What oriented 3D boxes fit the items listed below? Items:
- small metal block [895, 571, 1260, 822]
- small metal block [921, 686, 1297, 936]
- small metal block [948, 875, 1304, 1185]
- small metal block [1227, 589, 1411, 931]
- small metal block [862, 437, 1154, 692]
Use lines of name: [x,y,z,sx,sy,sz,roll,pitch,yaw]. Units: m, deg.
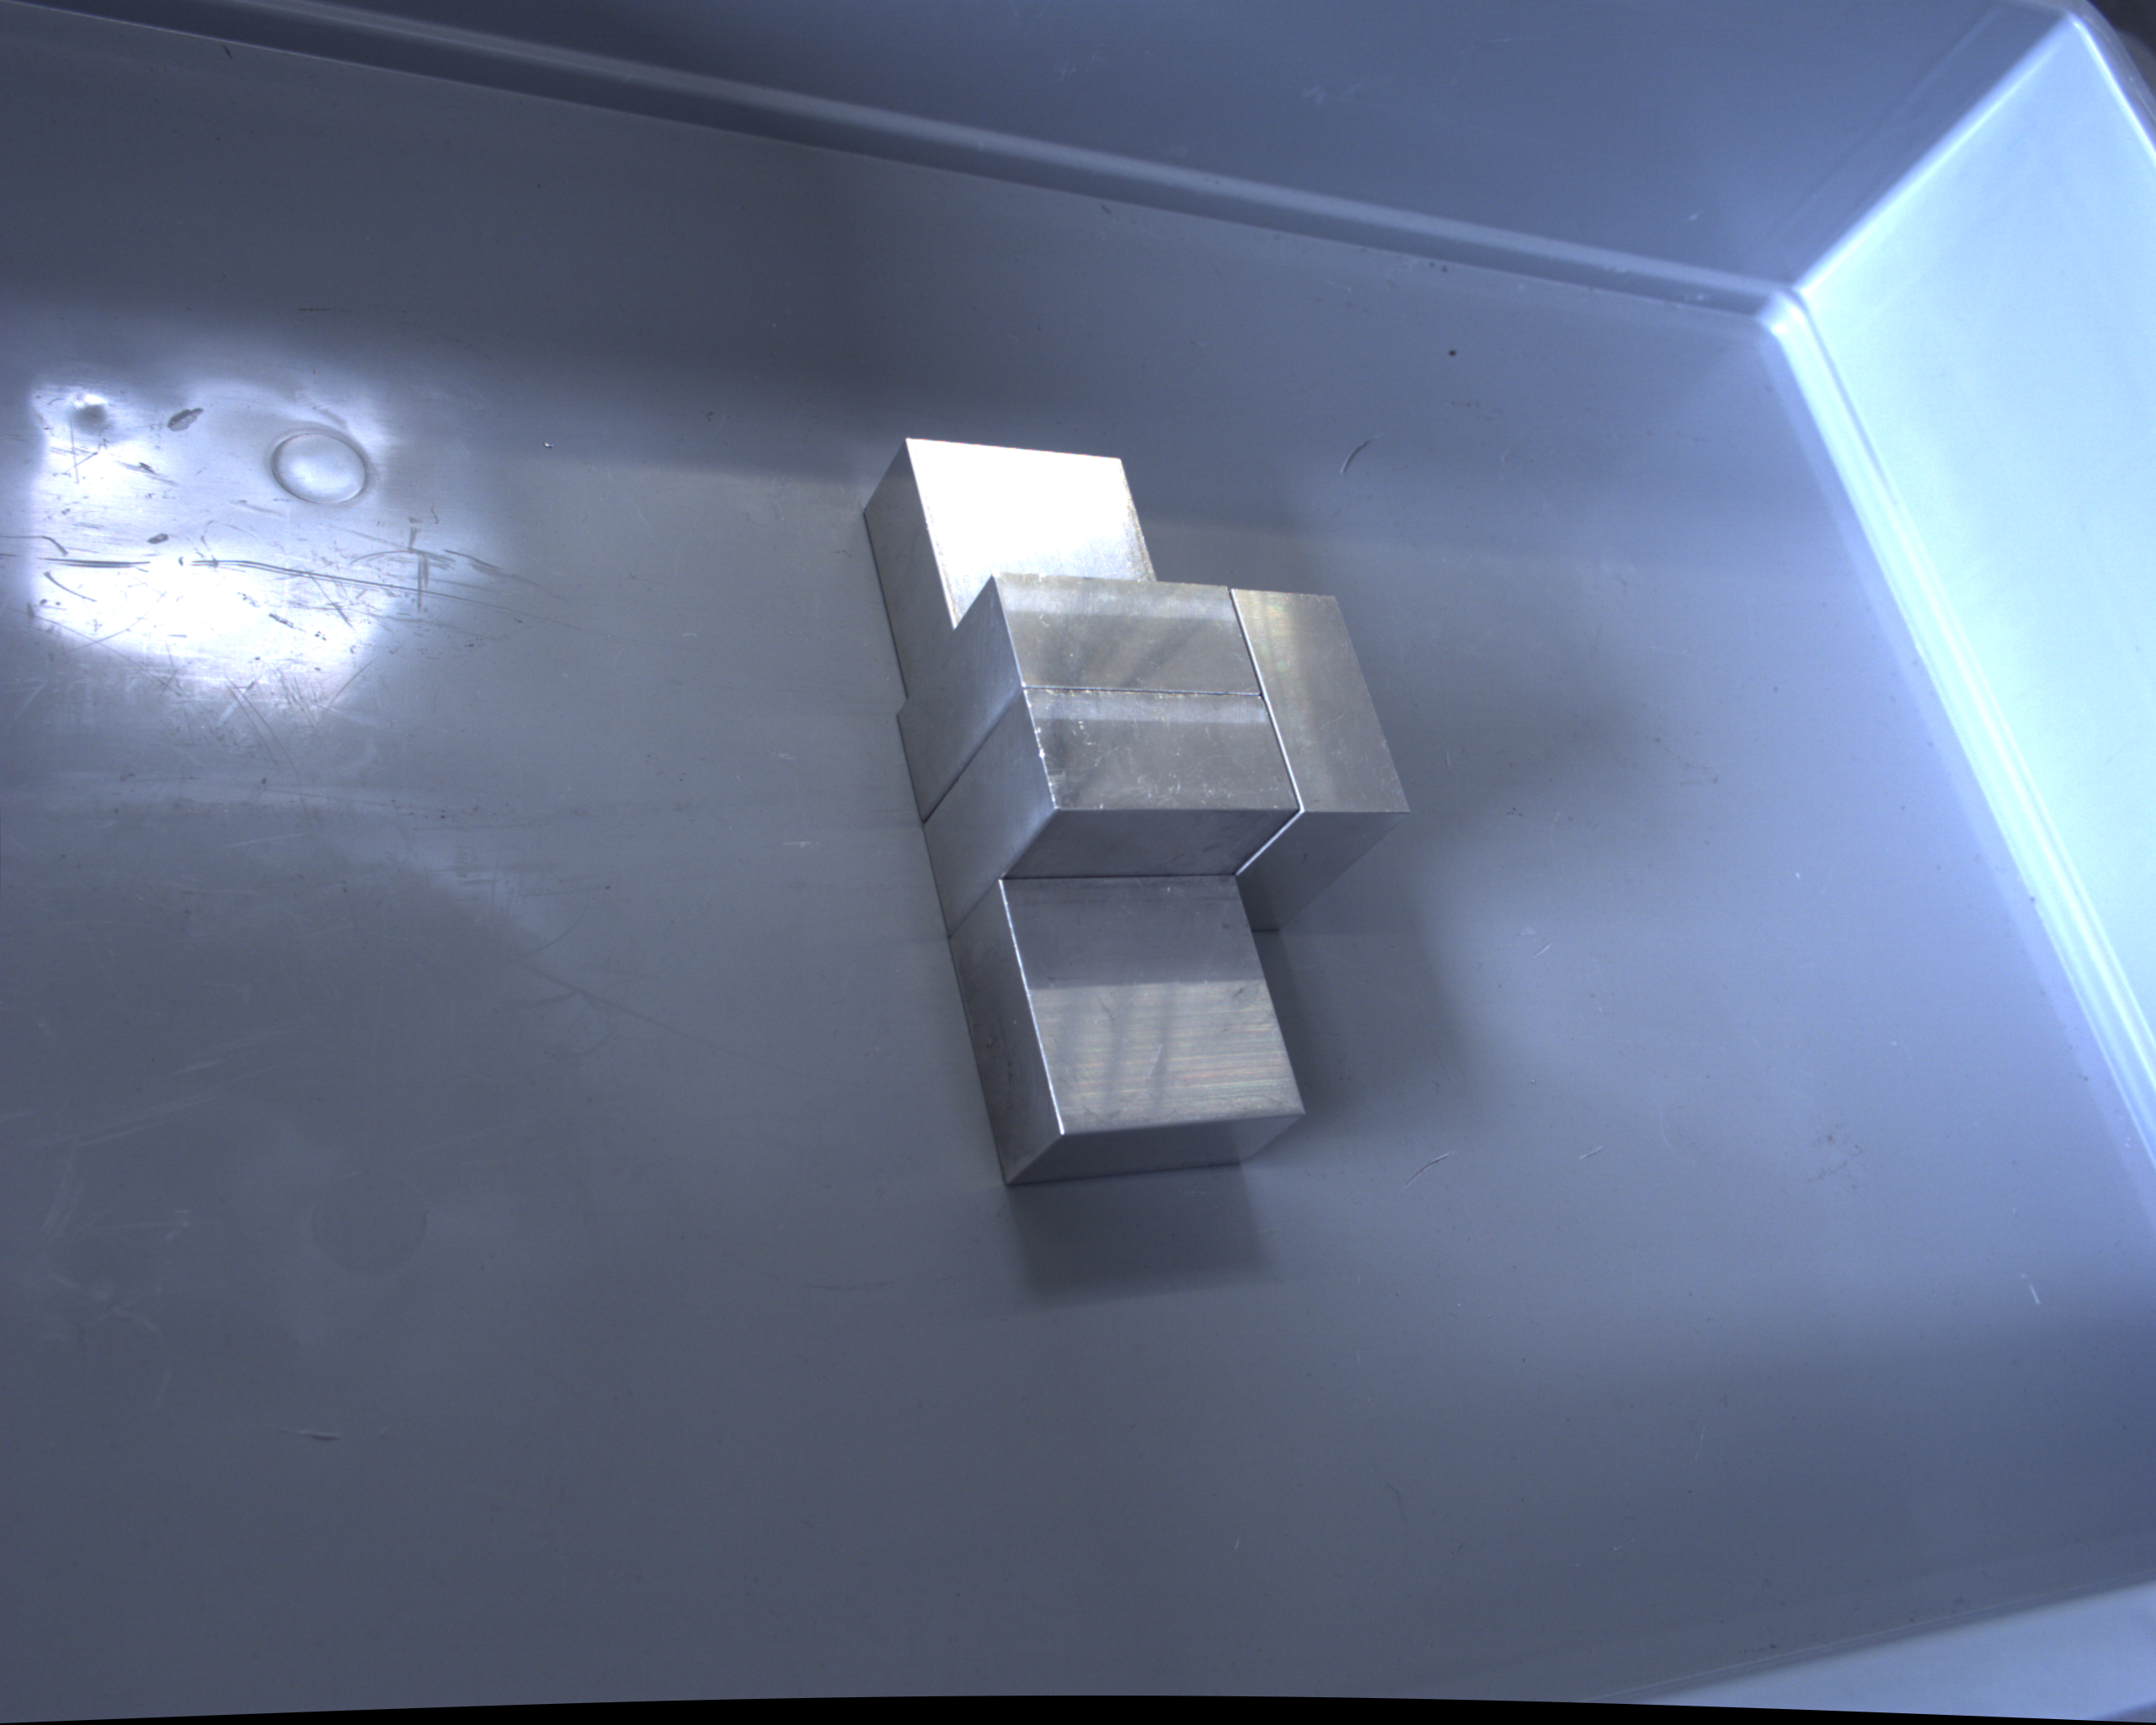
small metal block: [-0.001,-0.031,0.405,0.050,0.050,0.025,0,62,-28]
small metal block: [0.005,-0.009,0.395,0.050,0.050,0.025,0,62,-28]
small metal block: [0.008,0.030,0.389,0.050,0.025,0.050,0,62,-28]
small metal block: [0.036,-0.019,0.418,0.025,0.050,0.050,0,62,-28]
small metal block: [-0.013,-0.058,0.432,0.050,0.025,0.050,0,62,-28]
